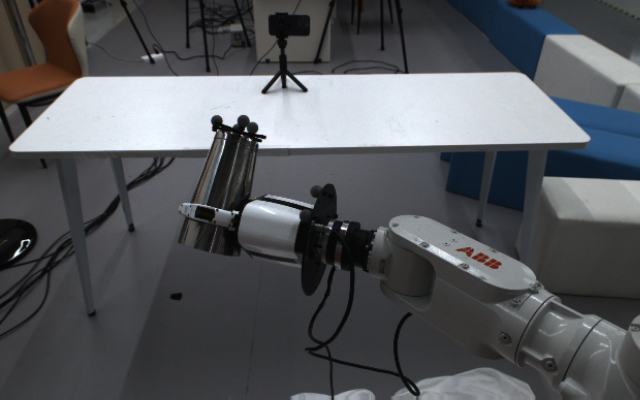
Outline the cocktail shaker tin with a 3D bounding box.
[{"bbox_3d":[-0.143,-0.010,0.712,0.093,0.170,0.093,14,-4,1],"label":"cocktail shaker tin"}]
